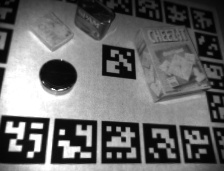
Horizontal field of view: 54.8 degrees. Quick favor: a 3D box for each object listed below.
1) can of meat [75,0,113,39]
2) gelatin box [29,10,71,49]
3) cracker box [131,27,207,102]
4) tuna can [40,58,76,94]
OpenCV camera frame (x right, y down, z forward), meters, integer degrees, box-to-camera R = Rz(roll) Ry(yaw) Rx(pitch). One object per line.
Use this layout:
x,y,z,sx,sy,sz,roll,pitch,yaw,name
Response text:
-0.057,-0.195,0.630,0.102,0.083,0.058,33,62,-2,can of meat
-0.170,-0.157,0.597,0.089,0.030,0.074,45,59,0,gelatin box
0.175,-0.072,0.664,0.166,0.071,0.212,-10,71,-24,cracker box
-0.136,-0.023,0.549,0.086,0.033,0.085,6,70,-16,tuna can
